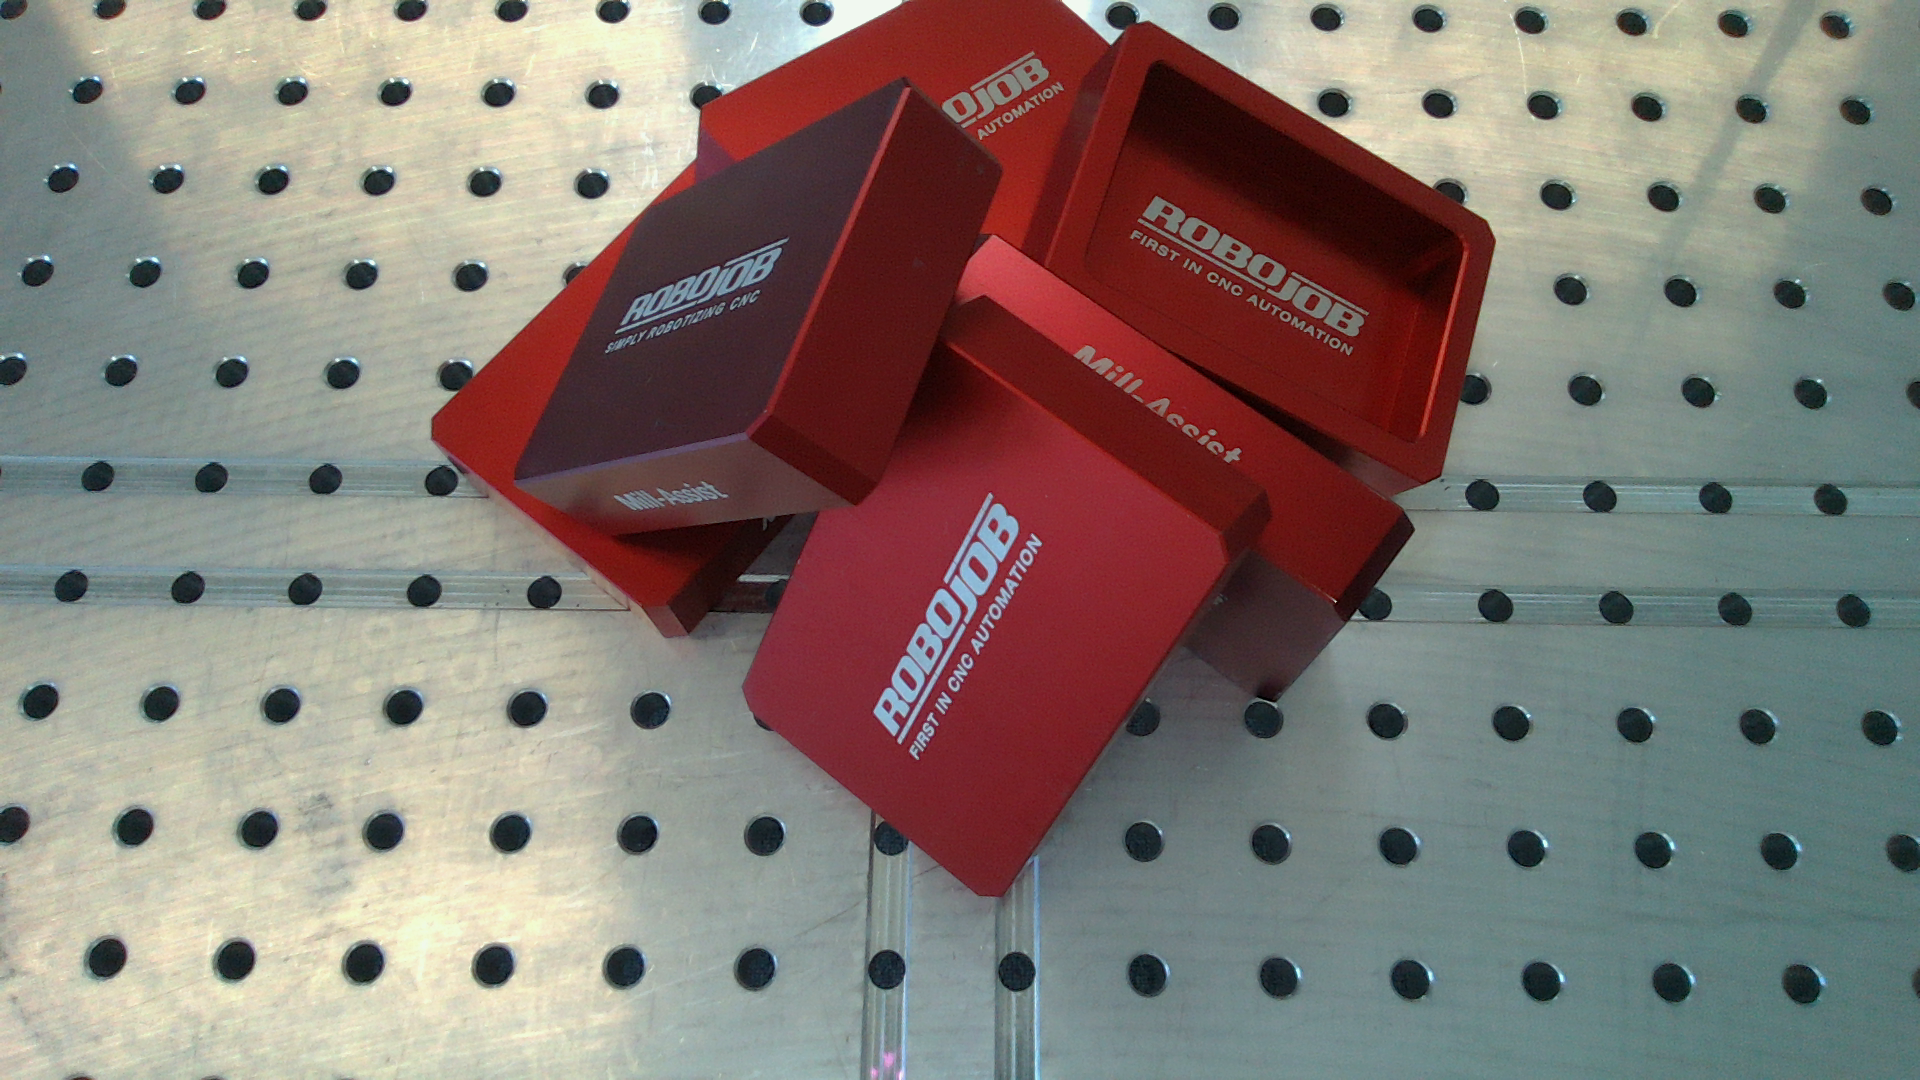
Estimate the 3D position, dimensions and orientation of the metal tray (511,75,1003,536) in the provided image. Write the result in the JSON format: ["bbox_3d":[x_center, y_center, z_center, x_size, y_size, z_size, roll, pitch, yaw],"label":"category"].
[{"bbox_3d":[-0.054,-0.051,0.335,0.030,0.129,0.090,33,67,-33],"label":"metal tray"}]

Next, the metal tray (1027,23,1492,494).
[{"bbox_3d":[0.086,-0.077,0.397,0.130,0.030,0.090,25,70,-15],"label":"metal tray"}]

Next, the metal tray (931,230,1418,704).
[{"bbox_3d":[0.047,-0.016,0.367,0.130,0.090,0.030,37,74,12],"label":"metal tray"}]

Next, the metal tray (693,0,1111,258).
[{"bbox_3d":[-0.004,-0.116,0.417,0.130,0.030,0.090,-38,77,-28],"label":"metal tray"}]

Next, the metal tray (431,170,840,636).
[{"bbox_3d":[-0.078,-0.048,0.411,0.090,0.030,0.130,37,74,11],"label":"metal tray"}]

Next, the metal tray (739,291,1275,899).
[{"bbox_3d":[0.005,0.017,0.340,0.090,0.130,0.030,37,35,12],"label":"metal tray"}]
